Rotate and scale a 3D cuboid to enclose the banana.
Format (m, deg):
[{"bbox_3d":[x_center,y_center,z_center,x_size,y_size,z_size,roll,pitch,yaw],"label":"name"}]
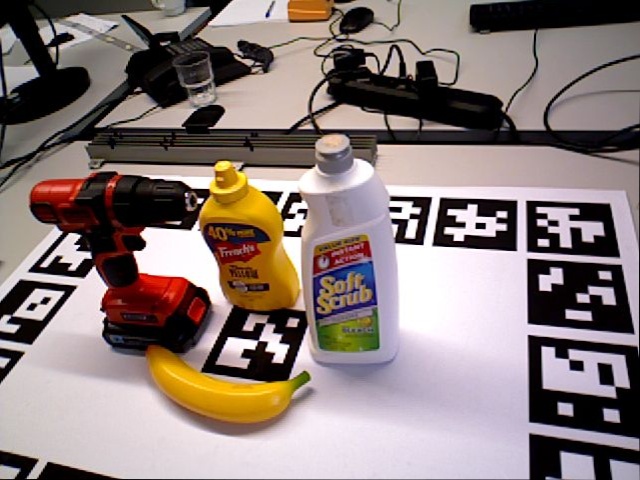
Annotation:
[{"bbox_3d":[-0.095,0.145,0.547,0.198,0.039,0.073,3,48,19],"label":"banana"}]

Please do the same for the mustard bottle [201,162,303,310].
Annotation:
[{"bbox_3d":[-0.079,-0.006,0.596,0.096,0.195,0.057,4,43,14],"label":"mustard bottle"}]

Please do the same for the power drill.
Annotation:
[{"bbox_3d":[-0.192,0.016,0.569,0.185,0.191,0.056,3,37,11],"label":"power drill"}]

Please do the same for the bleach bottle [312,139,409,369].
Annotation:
[{"bbox_3d":[0.031,0.022,0.507,0.103,0.255,0.066,-3,43,9],"label":"bleach bottle"}]
